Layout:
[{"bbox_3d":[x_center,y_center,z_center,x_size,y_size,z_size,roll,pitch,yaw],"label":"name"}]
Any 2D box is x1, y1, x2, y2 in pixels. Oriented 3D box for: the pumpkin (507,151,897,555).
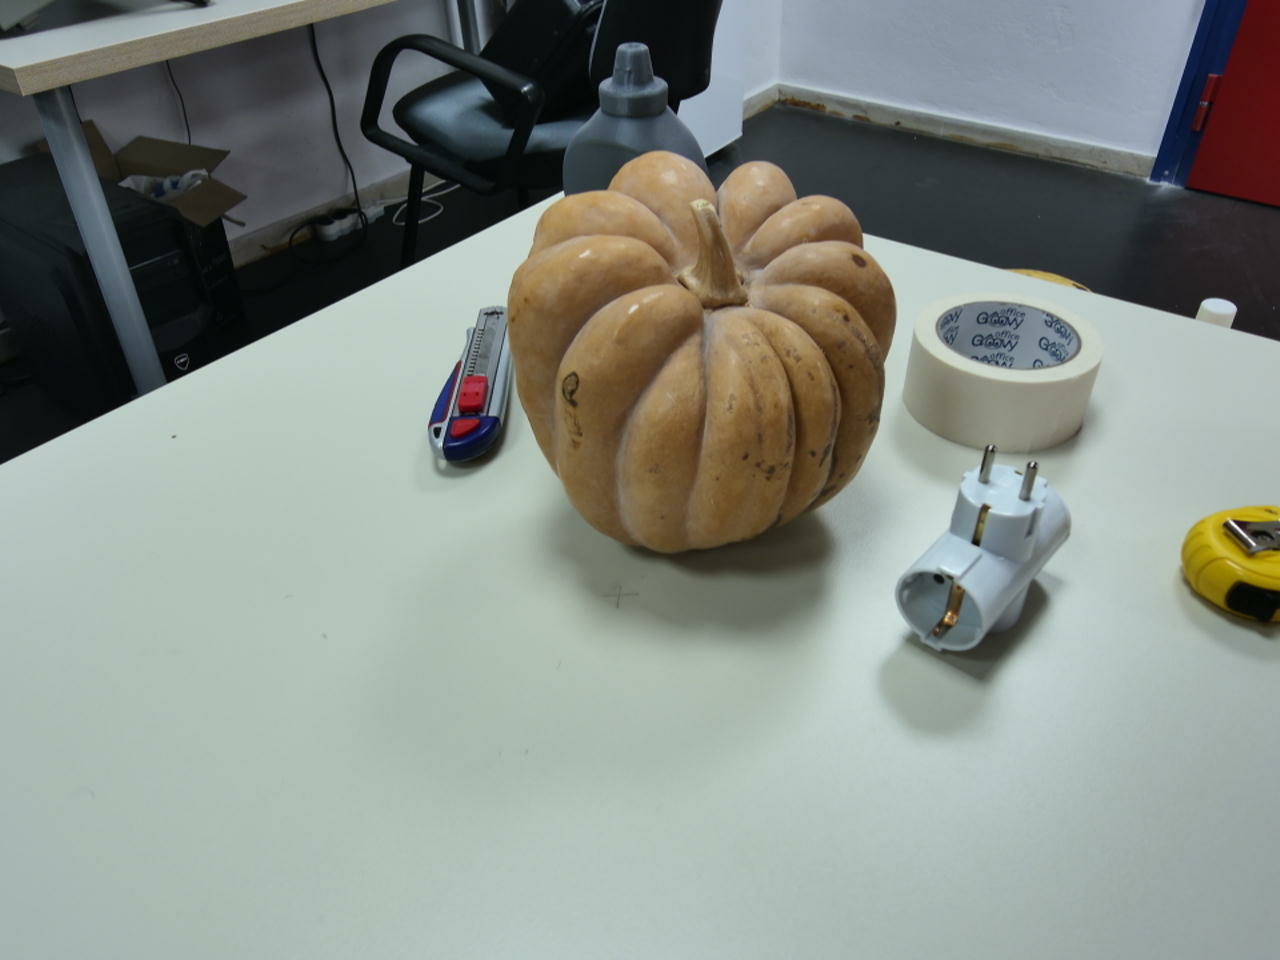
[{"bbox_3d":[0.028,-0.060,0.501,0.199,0.177,0.198,-1,37,0],"label":"pumpkin"}]
